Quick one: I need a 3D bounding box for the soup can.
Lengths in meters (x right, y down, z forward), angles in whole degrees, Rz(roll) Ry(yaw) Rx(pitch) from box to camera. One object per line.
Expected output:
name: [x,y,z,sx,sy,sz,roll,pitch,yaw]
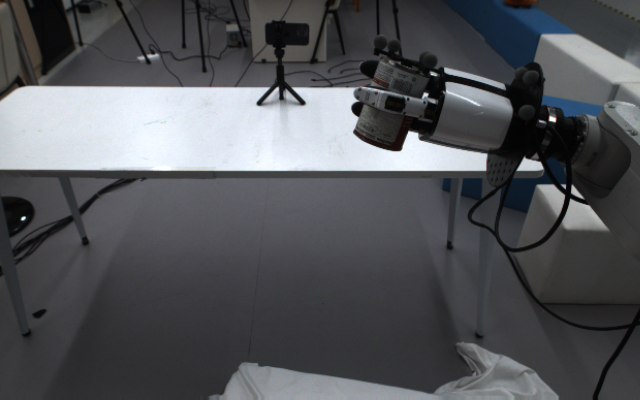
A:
soup can: [0.091,-0.123,0.617,0.067,0.101,0.067,17,21,-7]
